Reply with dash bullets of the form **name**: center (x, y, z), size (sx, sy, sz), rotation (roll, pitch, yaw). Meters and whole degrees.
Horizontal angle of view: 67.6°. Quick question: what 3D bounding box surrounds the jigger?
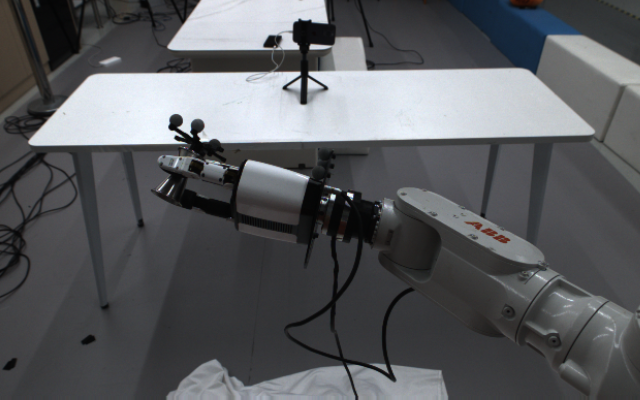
- **jigger**: center (-0.184, -0.032, 0.630), size (0.043, 0.043, 0.071), rotation (20, 73, 23)
